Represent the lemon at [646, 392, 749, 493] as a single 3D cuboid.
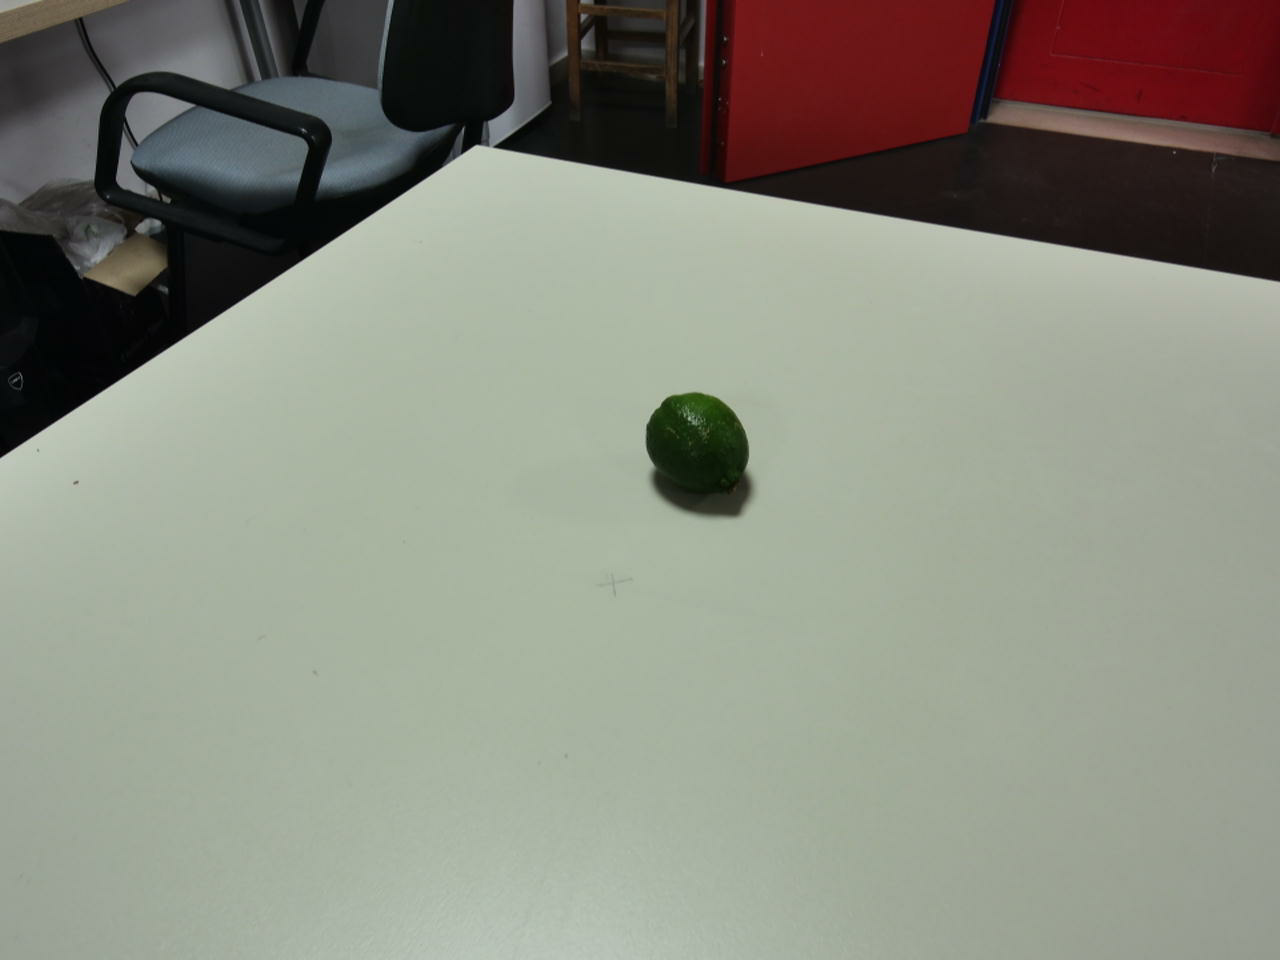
[{"bbox_3d":[0.031,-0.021,0.537,0.057,0.051,0.054,14,40,17],"label":"lemon"}]
